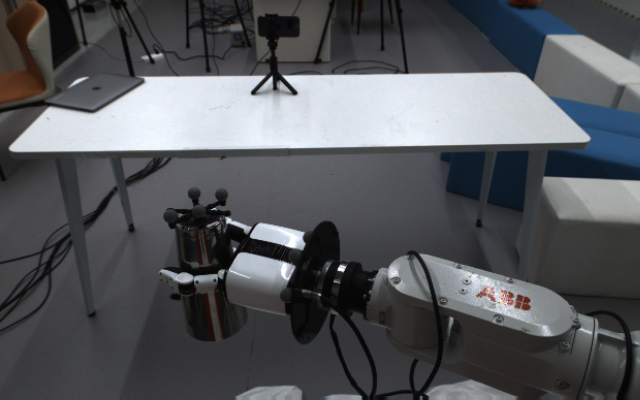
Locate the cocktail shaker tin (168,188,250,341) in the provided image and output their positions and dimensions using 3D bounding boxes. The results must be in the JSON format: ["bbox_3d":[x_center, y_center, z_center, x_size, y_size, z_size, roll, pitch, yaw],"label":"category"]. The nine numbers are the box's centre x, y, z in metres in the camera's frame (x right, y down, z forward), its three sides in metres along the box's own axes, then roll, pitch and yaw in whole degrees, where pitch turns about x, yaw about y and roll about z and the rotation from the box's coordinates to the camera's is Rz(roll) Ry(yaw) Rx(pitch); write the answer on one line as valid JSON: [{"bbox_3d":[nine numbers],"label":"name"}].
[{"bbox_3d":[-0.153,0.100,0.676,0.093,0.170,0.093,-2,26,1],"label":"cocktail shaker tin"}]
